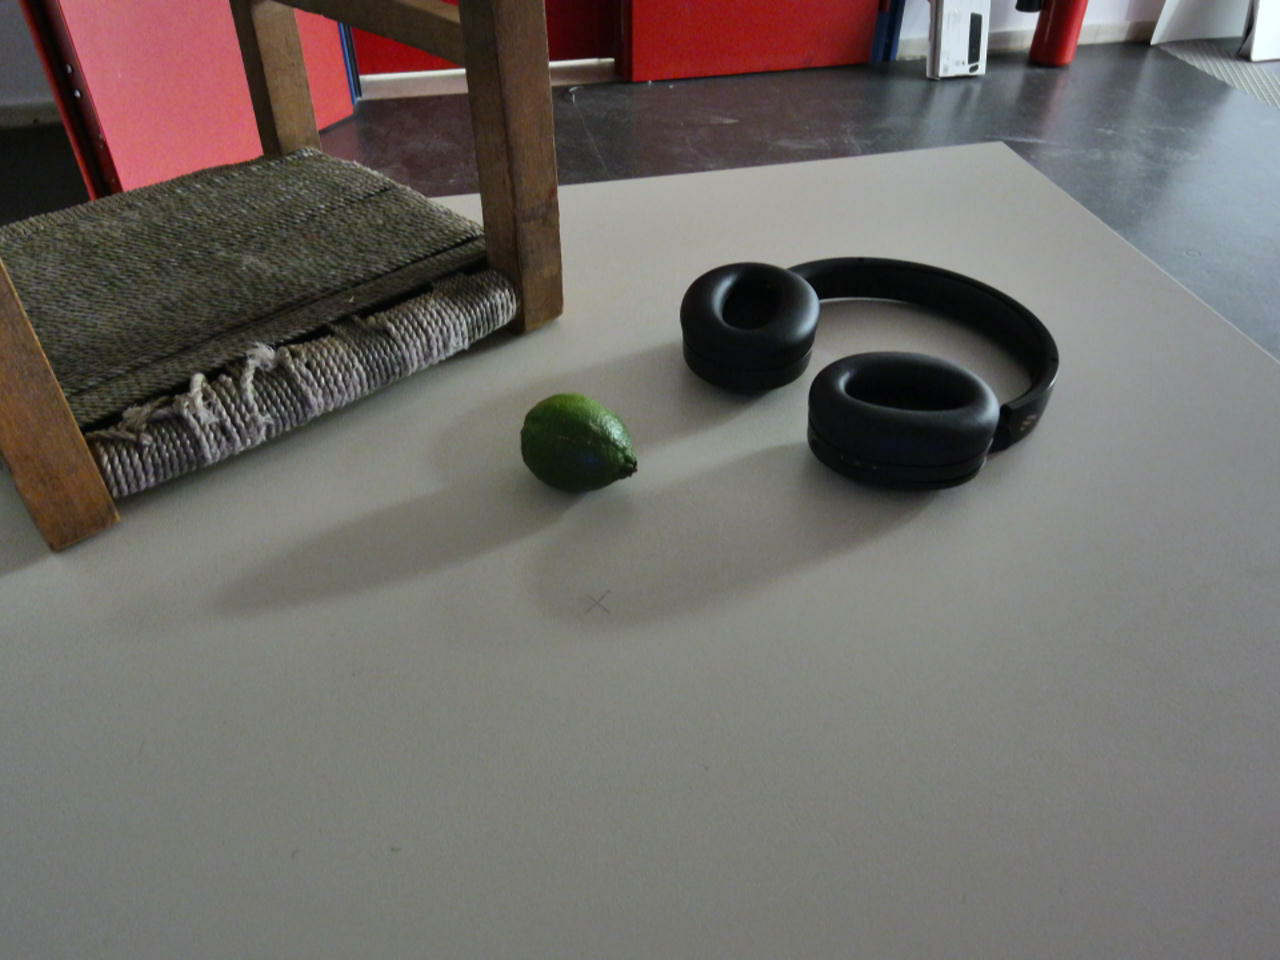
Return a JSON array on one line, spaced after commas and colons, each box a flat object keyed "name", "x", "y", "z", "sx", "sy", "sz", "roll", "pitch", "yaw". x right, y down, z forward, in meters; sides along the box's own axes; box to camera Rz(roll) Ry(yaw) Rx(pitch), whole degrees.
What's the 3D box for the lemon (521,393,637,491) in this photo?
[{"name": "lemon", "x": -0.034, "y": -0.021, "z": 0.526, "sx": 0.057, "sy": 0.051, "sz": 0.054, "roll": -11, "pitch": 40, "yaw": -13}]
